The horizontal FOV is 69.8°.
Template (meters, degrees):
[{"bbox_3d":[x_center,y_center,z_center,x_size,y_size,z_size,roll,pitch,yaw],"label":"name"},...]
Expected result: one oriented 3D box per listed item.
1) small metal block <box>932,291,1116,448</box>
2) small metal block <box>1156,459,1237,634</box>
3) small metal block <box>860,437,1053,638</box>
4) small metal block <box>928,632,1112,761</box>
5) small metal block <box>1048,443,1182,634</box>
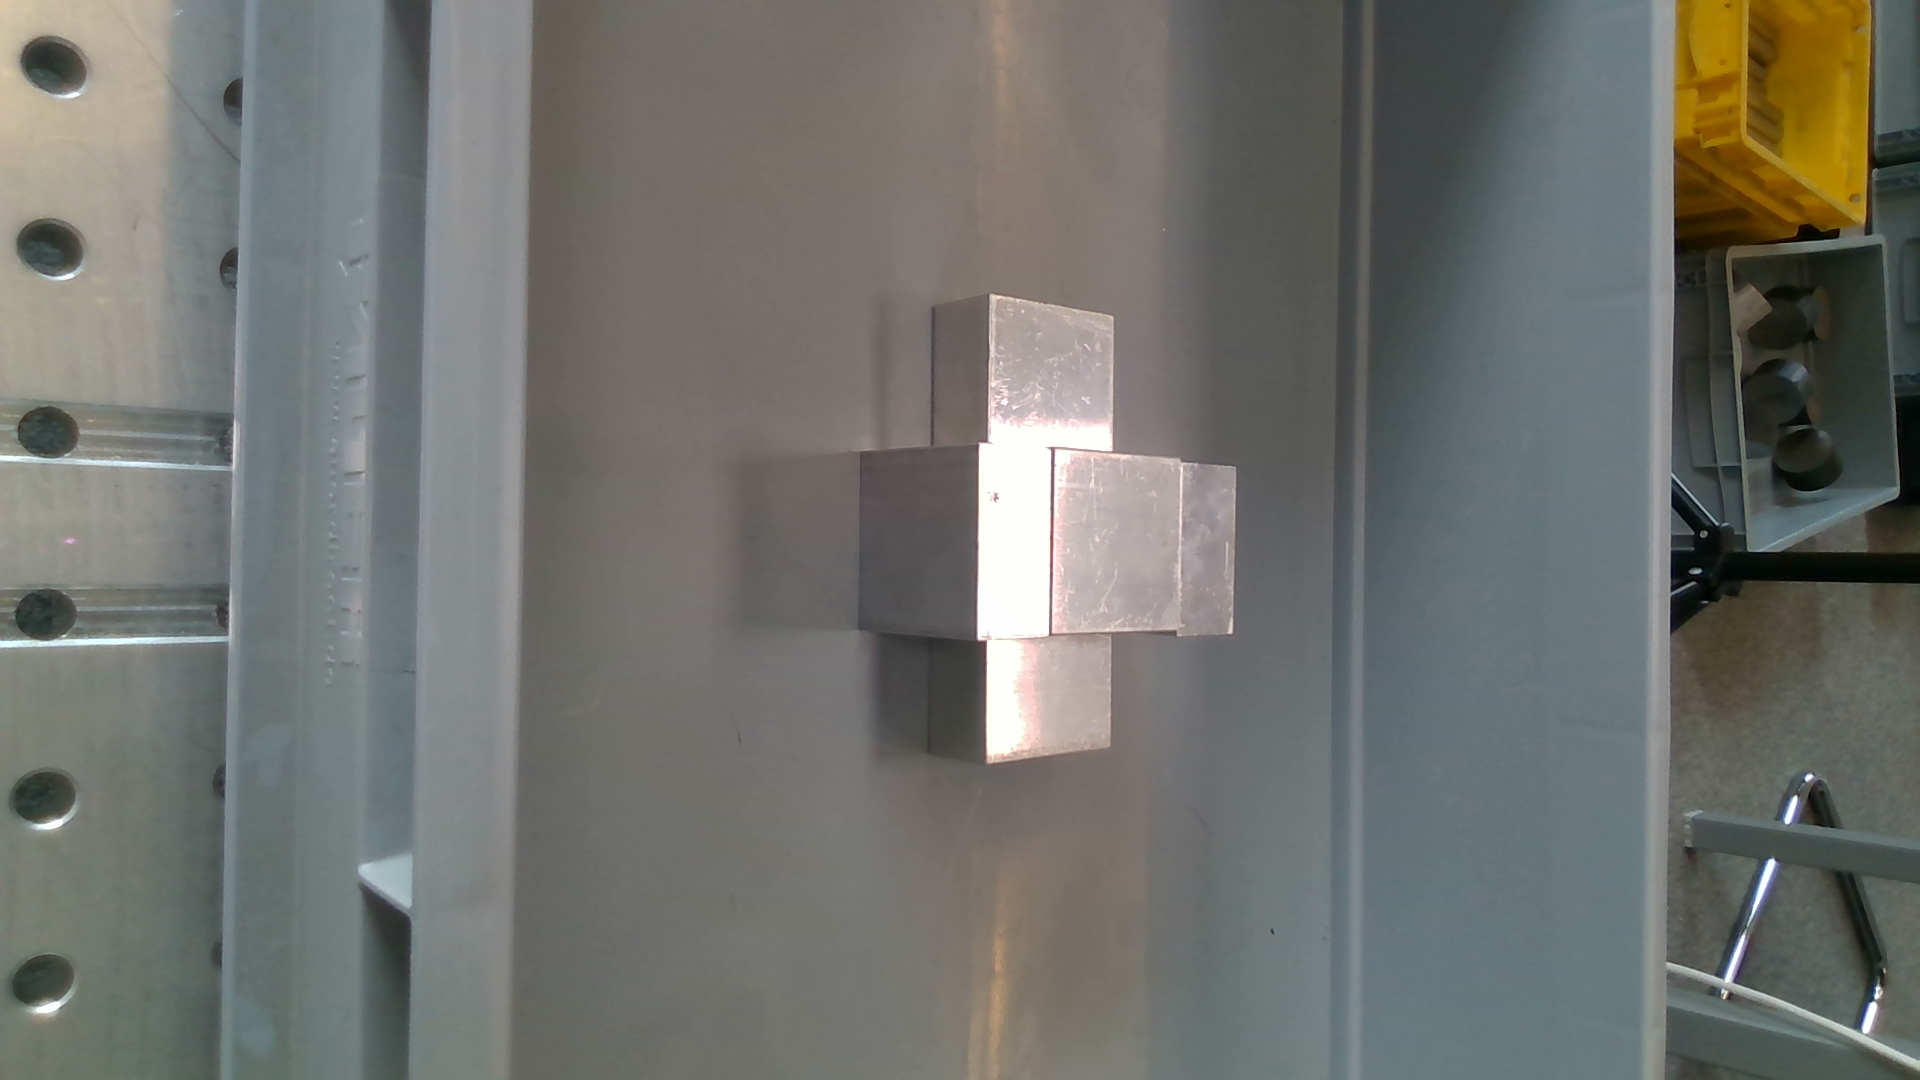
[{"bbox_3d":[0.019,-0.043,0.405,0.050,0.025,0.050,1,89,-40],"label":"small metal block"},{"bbox_3d":[0.056,0.002,0.420,0.025,0.050,0.050,1,90,-40],"label":"small metal block"},{"bbox_3d":[-0.002,0.000,0.370,0.025,0.050,0.050,1,90,-40],"label":"small metal block"},{"bbox_3d":[0.018,0.036,0.405,0.050,0.025,0.050,1,90,-40],"label":"small metal block"},{"bbox_3d":[0.036,0.000,0.386,0.050,0.025,0.050,1,90,-40],"label":"small metal block"}]
